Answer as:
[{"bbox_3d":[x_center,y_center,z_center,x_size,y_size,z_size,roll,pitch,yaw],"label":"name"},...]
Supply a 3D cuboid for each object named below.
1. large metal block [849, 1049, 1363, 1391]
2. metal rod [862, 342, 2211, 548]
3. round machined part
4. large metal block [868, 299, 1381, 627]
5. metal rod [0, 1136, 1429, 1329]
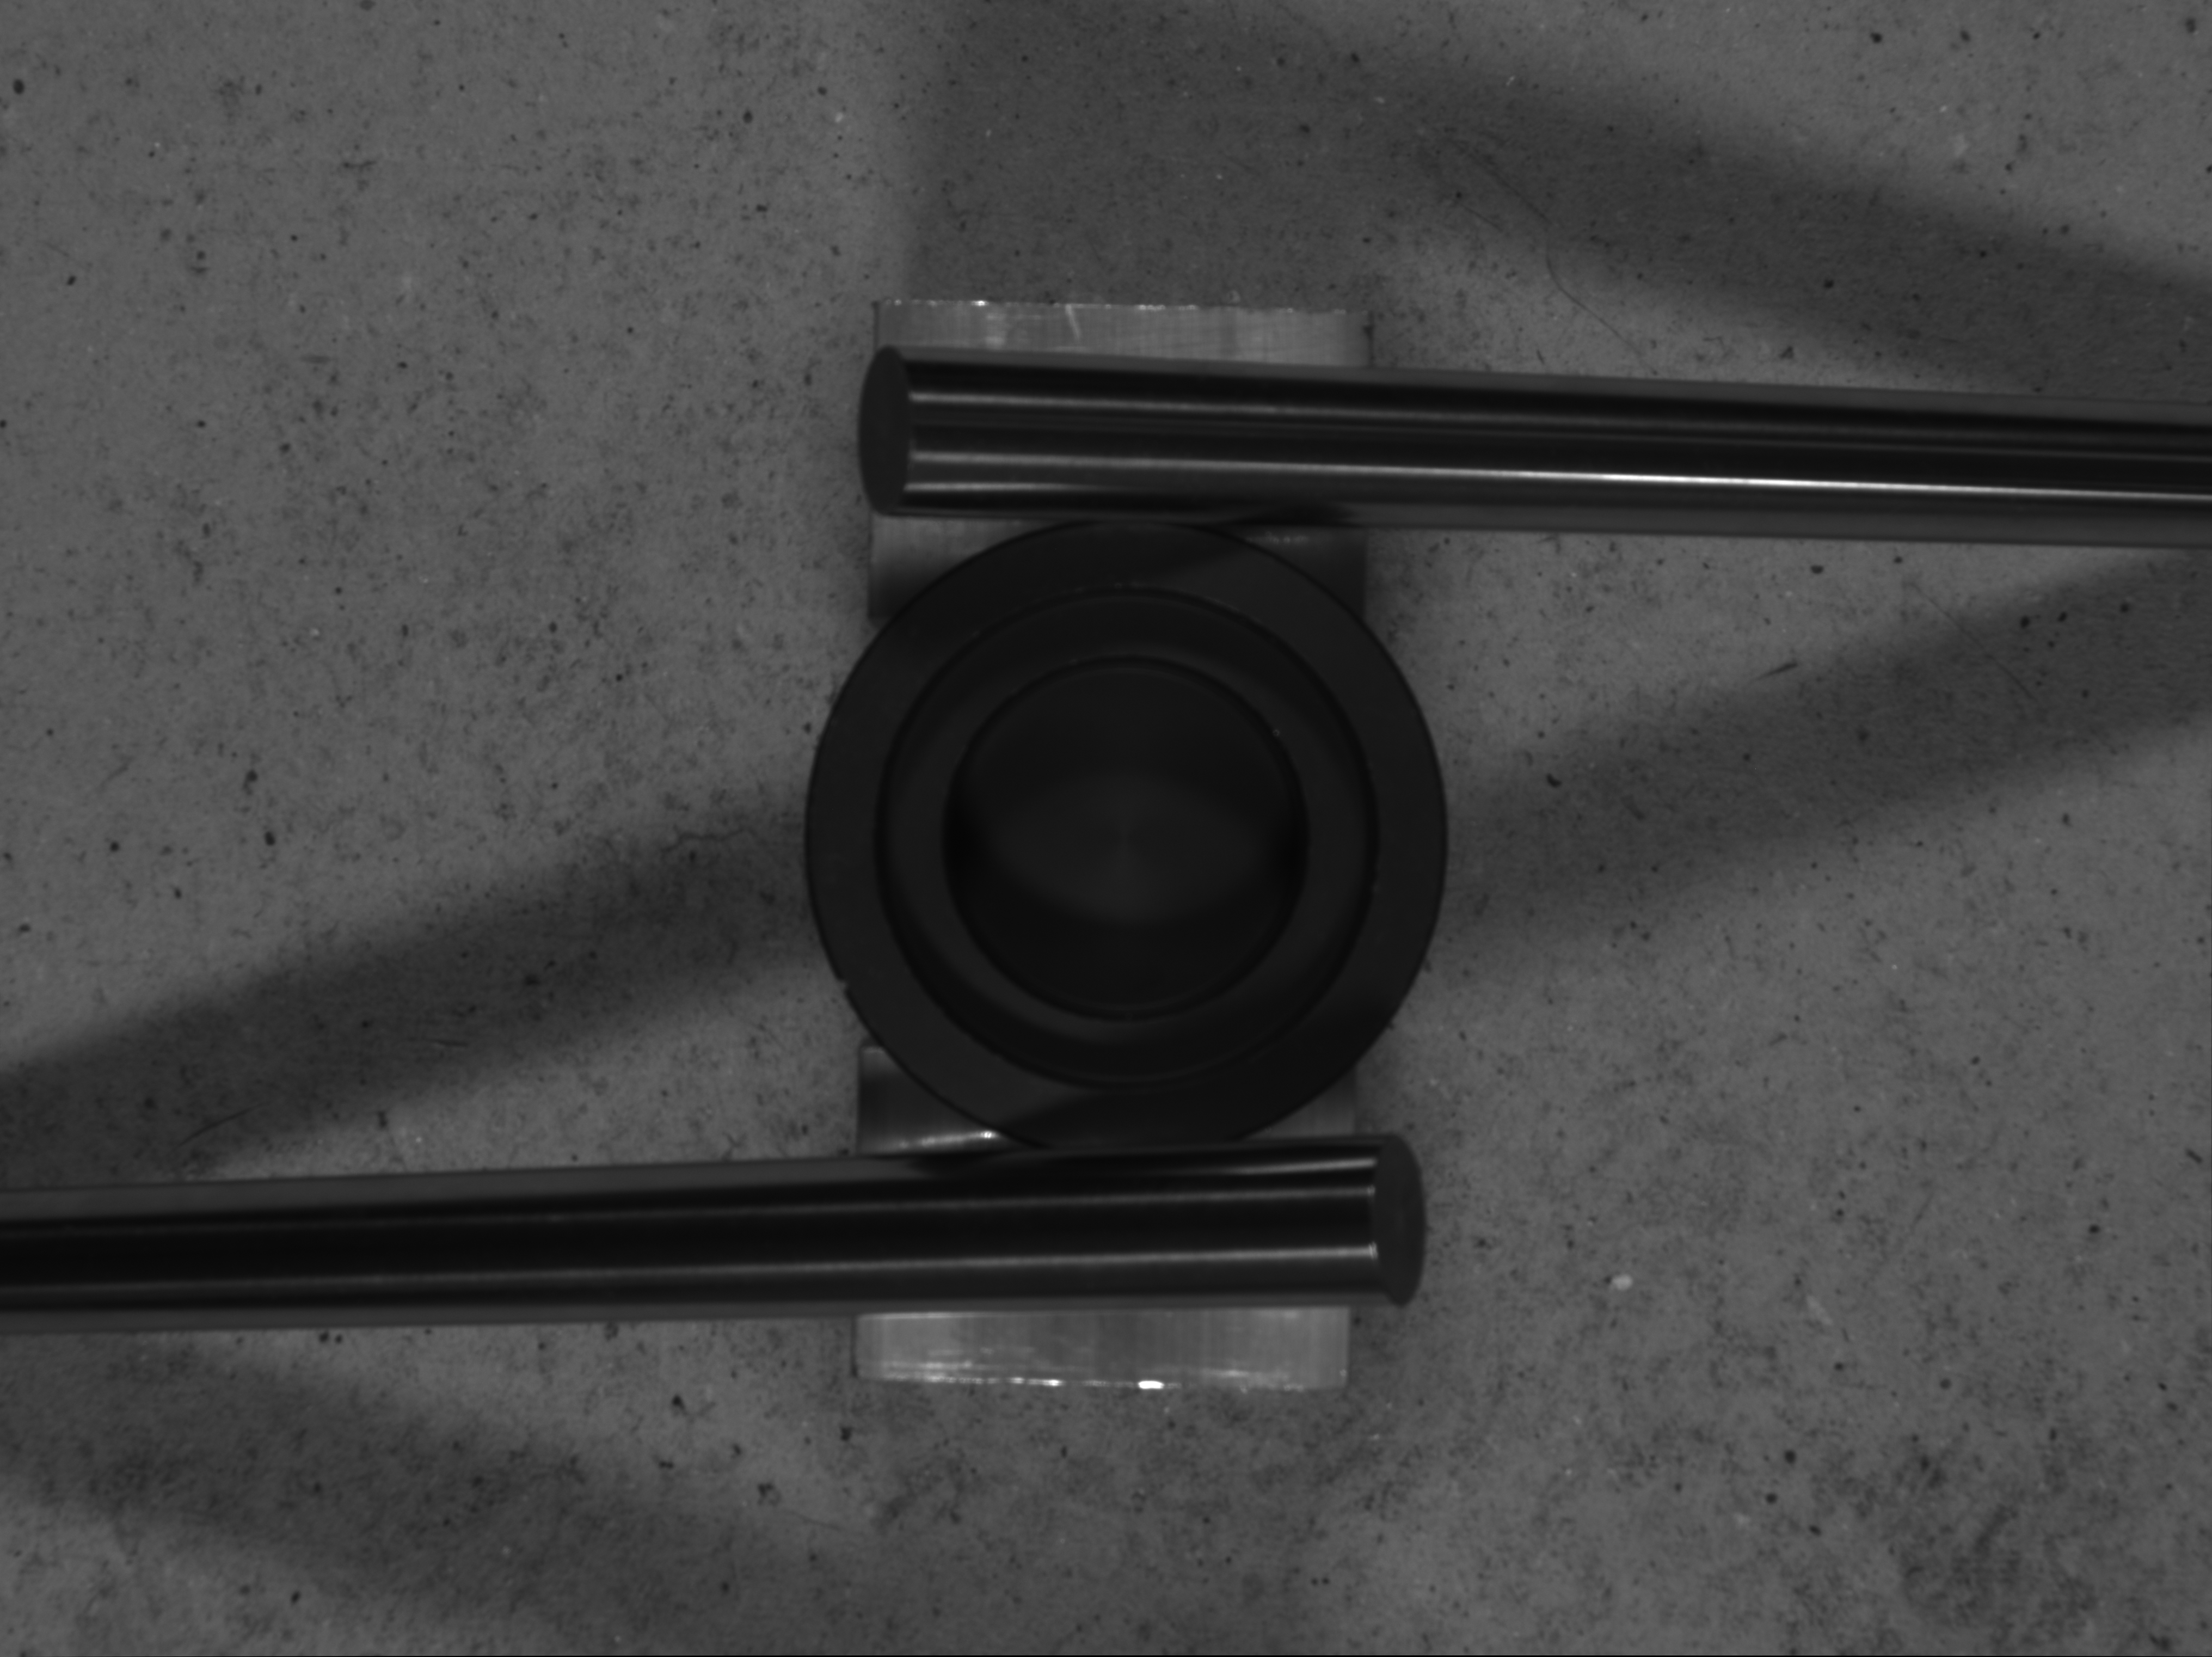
[{"bbox_3d":[0.000,0.063,0.618,0.080,0.080,0.050,1,90,0],"label":"large metal block"},{"bbox_3d":[0.107,-0.060,0.593,0.301,0.025,0.025,0,90,-22],"label":"metal rod"},{"bbox_3d":[0.003,0.002,0.578,0.098,0.042,0.098,0,90,0],"label":"round machined part"},{"bbox_3d":[0.003,-0.058,0.618,0.080,0.080,0.050,1,90,0],"label":"large metal block"},{"bbox_3d":[-0.095,0.067,0.589,0.299,0.025,0.025,-4,90,22],"label":"metal rod"}]
